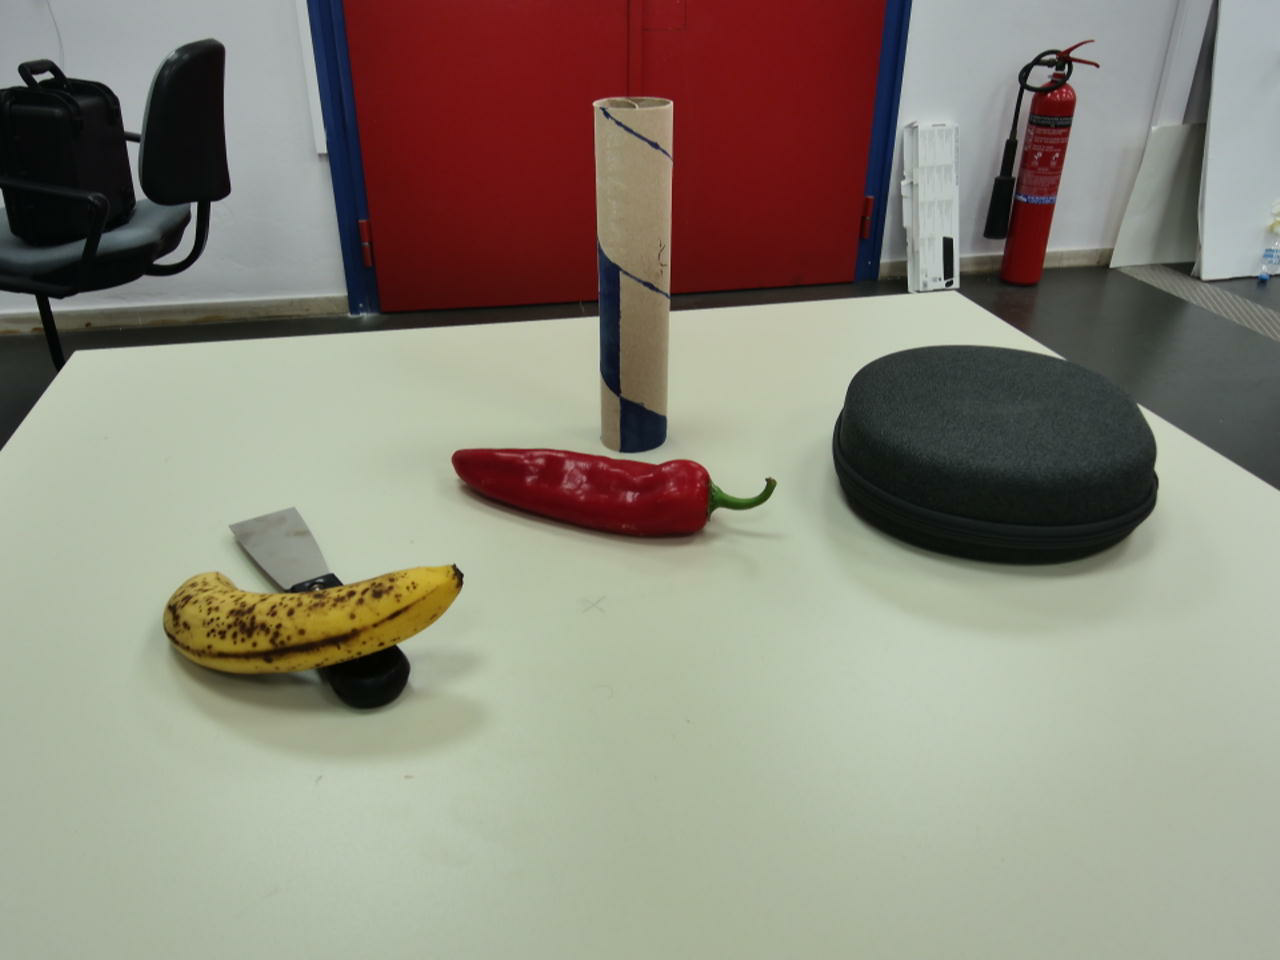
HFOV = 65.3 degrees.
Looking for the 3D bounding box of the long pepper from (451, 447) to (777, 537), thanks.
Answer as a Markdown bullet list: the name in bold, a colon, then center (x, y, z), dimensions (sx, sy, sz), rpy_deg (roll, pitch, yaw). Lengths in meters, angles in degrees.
- **long pepper**: center (-0.024, 0.003, 0.599), dimensions (0.211, 0.043, 0.050), rpy_deg (9, 28, 17)
